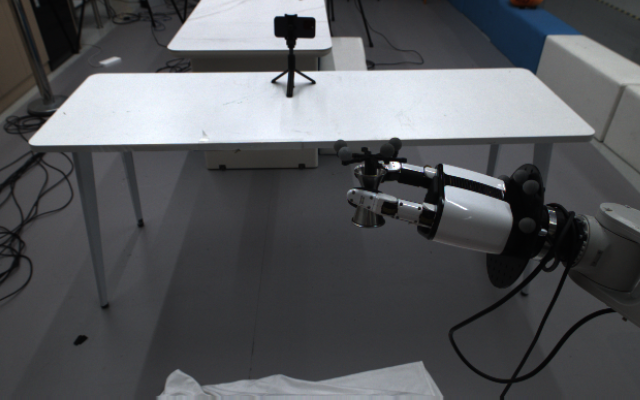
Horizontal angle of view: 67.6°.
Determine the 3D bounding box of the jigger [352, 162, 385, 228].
[{"bbox_3d":[0.062,-0.005,0.610,0.043,0.071,0.043,0,21,0],"label":"jigger"}]
